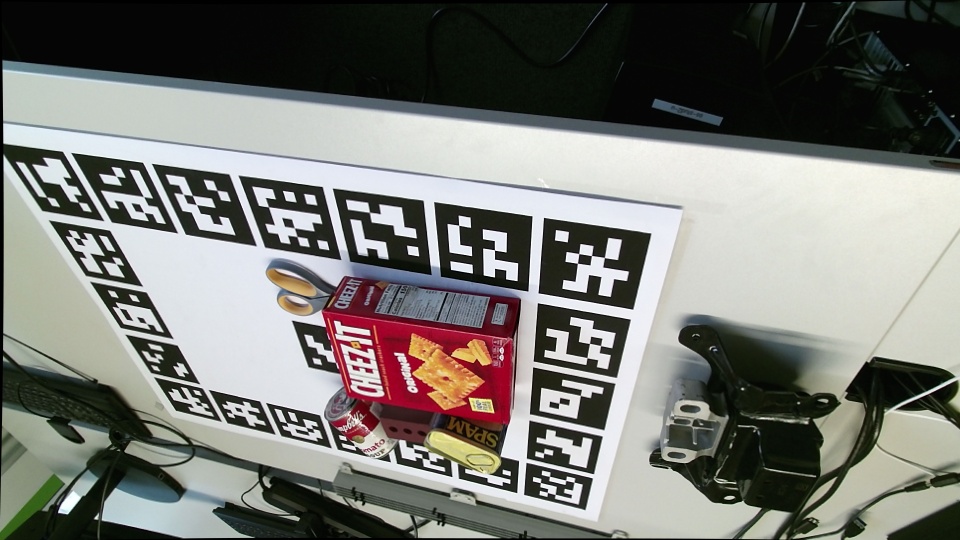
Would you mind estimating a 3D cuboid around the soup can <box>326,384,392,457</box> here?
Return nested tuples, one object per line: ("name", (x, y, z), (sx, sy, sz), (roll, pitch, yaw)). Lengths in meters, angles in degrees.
("soup can", (-0.180, 0.225, 0.804), (0.068, 0.067, 0.102), (-25, 121, 32))

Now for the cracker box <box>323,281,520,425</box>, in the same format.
("cracker box", (-0.065, 0.101, 0.637), (0.214, 0.072, 0.164), (3, 128, 12))

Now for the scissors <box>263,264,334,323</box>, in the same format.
("scissors", (-0.169, 0.037, 0.663), (0.203, 0.016, 0.088), (5, 127, 14))

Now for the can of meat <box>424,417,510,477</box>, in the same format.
("can of meat", (-0.012, 0.216, 0.719), (0.102, 0.083, 0.058), (20, 130, 3))

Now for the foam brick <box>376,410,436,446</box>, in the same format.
("foam brick", (-0.100, 0.215, 0.772), (0.078, 0.051, 0.053), (1, 126, 18))
